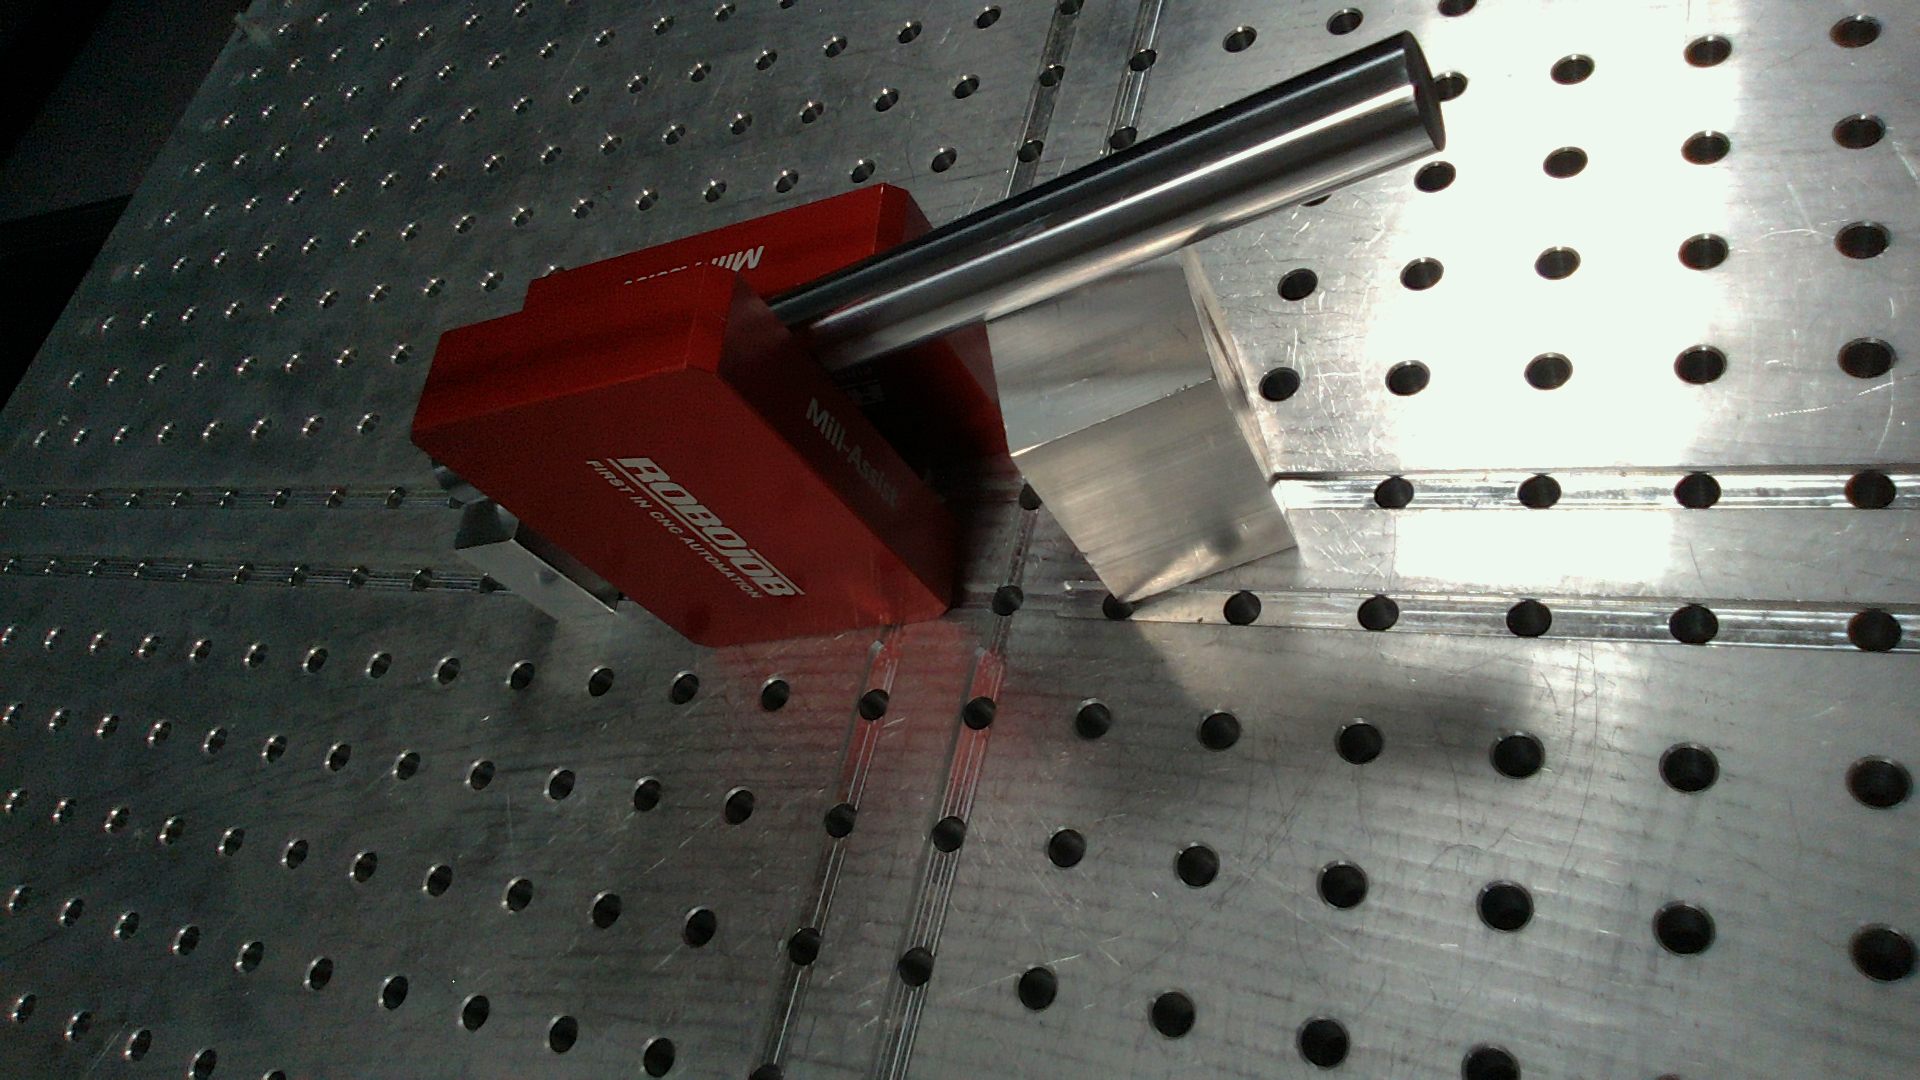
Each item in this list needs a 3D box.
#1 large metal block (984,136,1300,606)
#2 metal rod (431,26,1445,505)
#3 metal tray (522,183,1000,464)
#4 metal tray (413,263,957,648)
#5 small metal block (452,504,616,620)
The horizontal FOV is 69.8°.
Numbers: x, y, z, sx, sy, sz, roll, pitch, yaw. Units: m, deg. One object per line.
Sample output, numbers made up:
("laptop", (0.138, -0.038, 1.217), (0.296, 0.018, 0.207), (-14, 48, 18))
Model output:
("large metal block", (0.045, -0.042, 0.361), (0.050, 0.080, 0.080), (-21, 54, 16))
("metal rod", (-0.031, -0.056, 0.350), (0.299, 0.025, 0.025), (-15, 55, 32))
("metal tray", (-0.057, -0.053, 0.417), (0.130, 0.090, 0.030), (-9, 59, 24))
("metal tray", (-0.068, -0.015, 0.375), (0.090, 0.130, 0.030), (-9, 58, 23))
("small metal block", (-0.135, -0.008, 0.459), (0.025, 0.050, 0.050), (-8, 58, 24))
